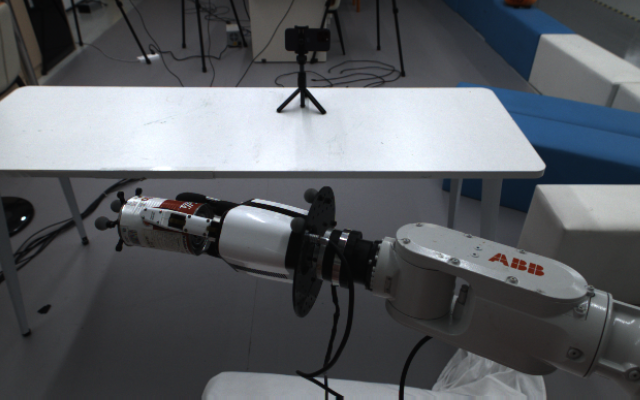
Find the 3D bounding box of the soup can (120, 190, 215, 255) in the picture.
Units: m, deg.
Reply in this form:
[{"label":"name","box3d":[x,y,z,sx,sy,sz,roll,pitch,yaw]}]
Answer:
[{"label":"soup can","box3d":[-0.195,0.033,0.625,0.101,0.067,0.067,6,35,11]}]
